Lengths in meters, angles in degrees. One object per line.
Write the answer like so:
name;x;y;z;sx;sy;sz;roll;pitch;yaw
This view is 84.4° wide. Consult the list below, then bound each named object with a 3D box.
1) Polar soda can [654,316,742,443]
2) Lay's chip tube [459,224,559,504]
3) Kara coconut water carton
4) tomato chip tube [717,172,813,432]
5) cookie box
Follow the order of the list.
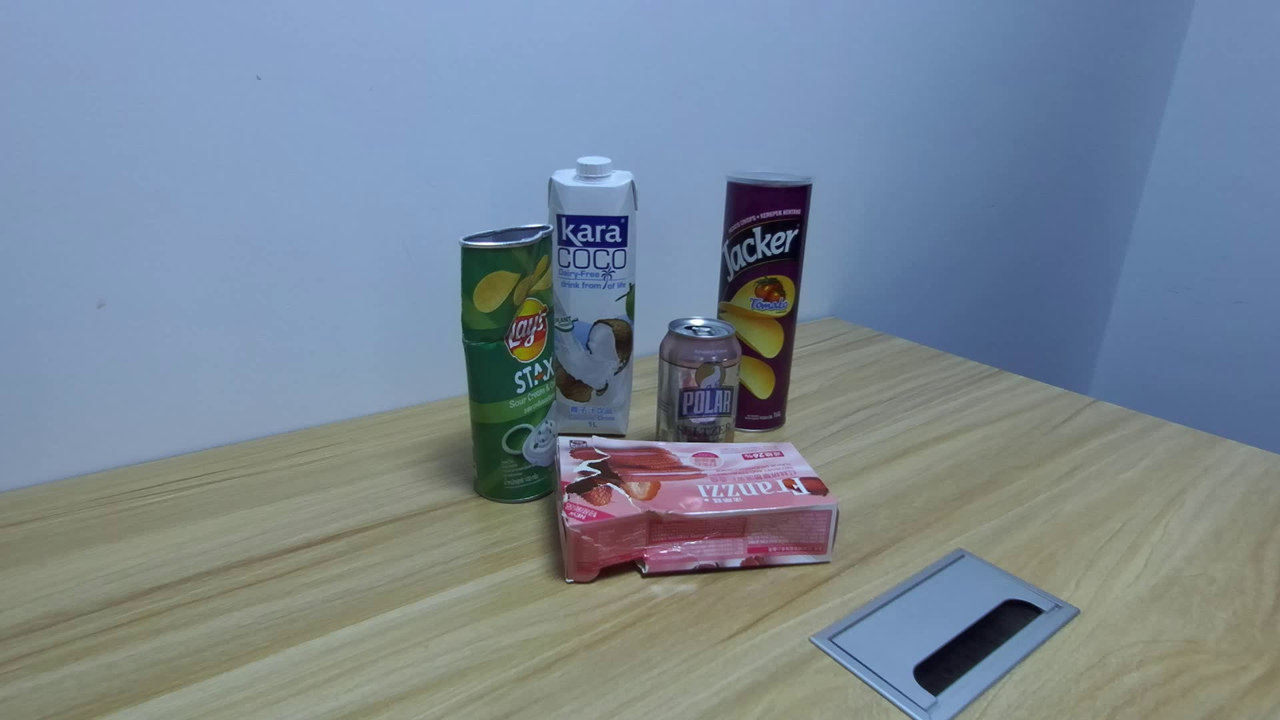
Polar soda can;0.049;0.029;0.587;0.067;0.125;0.067;2;23;0
Lay's chip tube;-0.096;0.004;0.537;0.069;0.199;0.074;-2;20;-11
Kara coconut water carton;-0.042;-0.055;0.636;0.077;0.245;0.075;2;18;1
tomato chip tube;0.112;-0.053;0.663;0.078;0.234;0.078;2;20;0
cookie box;0.035;0.096;0.498;0.186;0.059;0.105;-1;22;-10
